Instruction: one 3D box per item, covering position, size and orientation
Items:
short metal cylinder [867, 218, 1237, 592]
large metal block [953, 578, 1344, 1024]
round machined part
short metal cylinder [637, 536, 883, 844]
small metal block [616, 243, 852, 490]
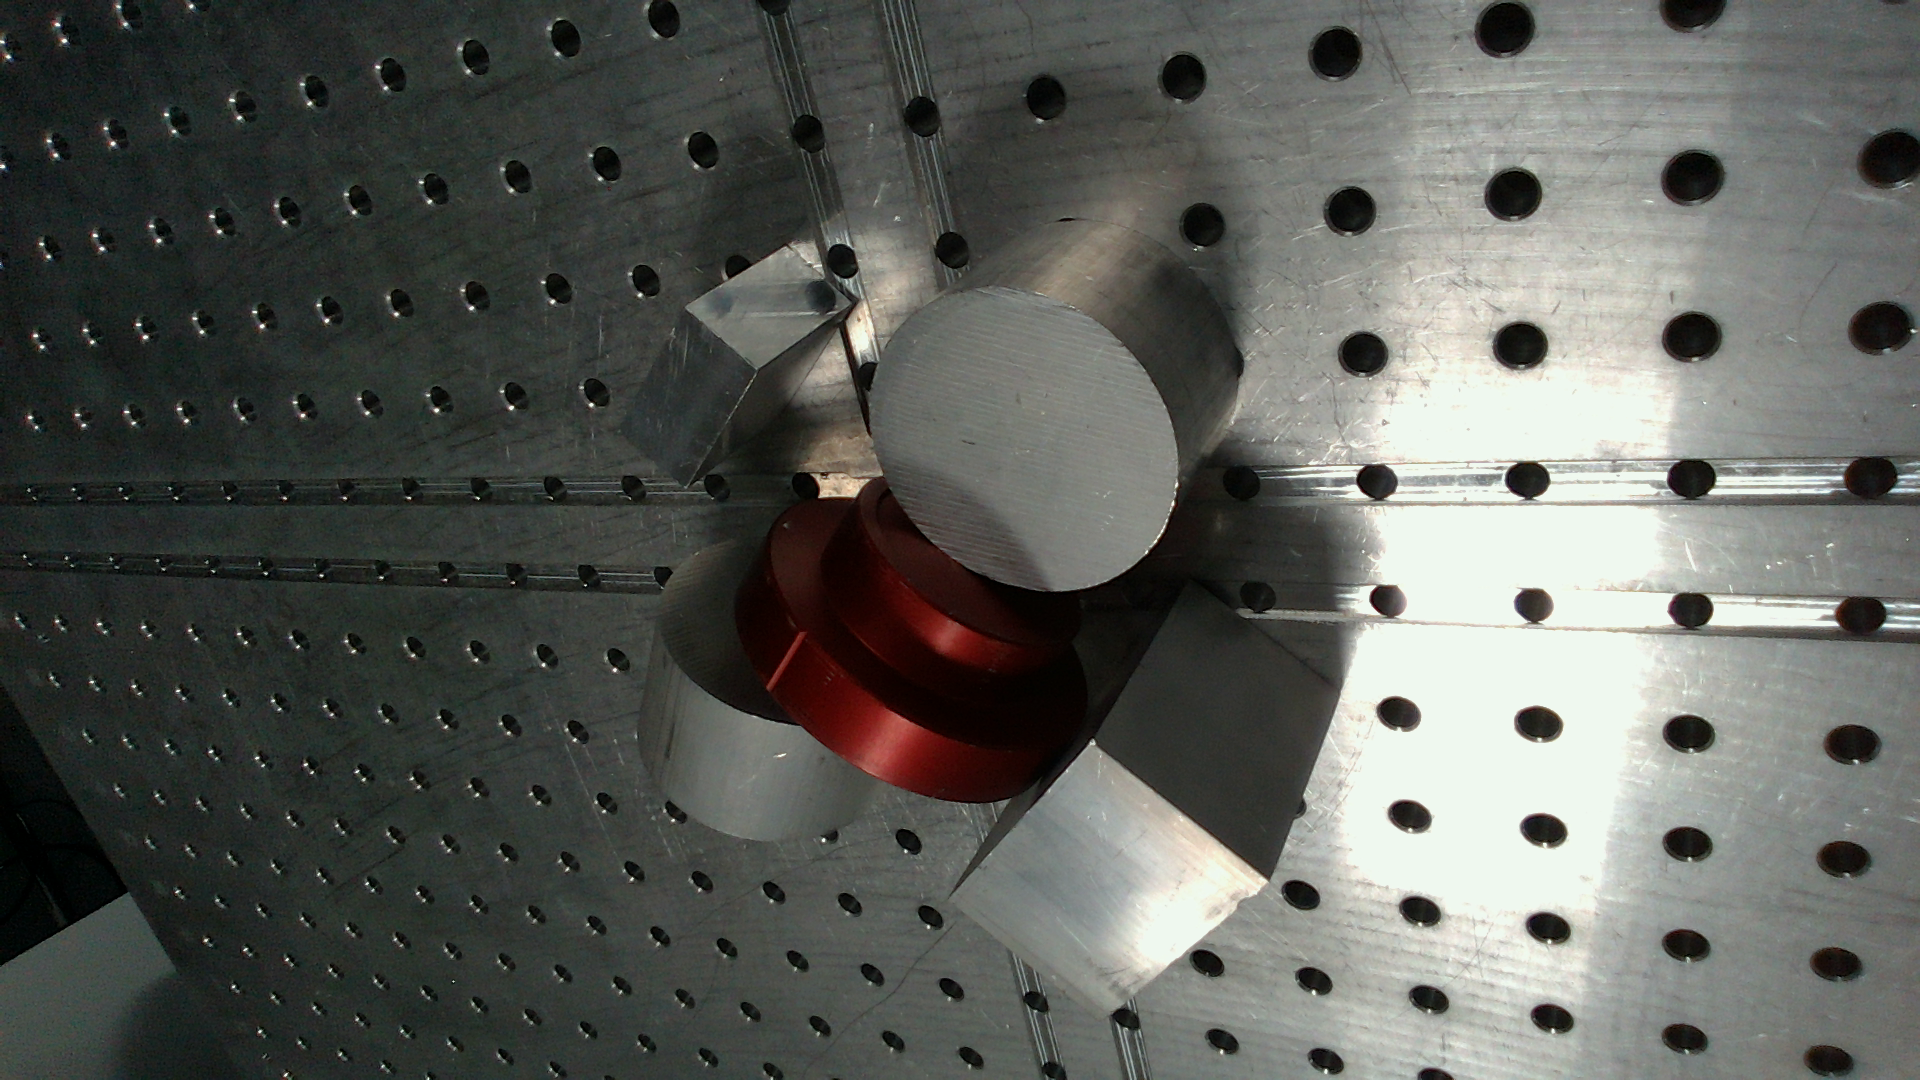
[{"bbox_3d":[0.024,-0.034,0.345,0.080,0.050,0.080,13,124,21],"label":"short metal cylinder"},{"bbox_3d":[0.052,0.070,0.376,0.050,0.080,0.080,37,129,3],"label":"large metal block"},{"bbox_3d":[-0.007,0.020,0.366,0.098,0.098,0.042,36,117,5],"label":"round machined part"},{"bbox_3d":[-0.054,0.044,0.416,0.080,0.080,0.050,27,128,11],"label":"short metal cylinder"},{"bbox_3d":[-0.063,-0.049,0.383,0.025,0.050,0.050,41,129,1],"label":"small metal block"}]
